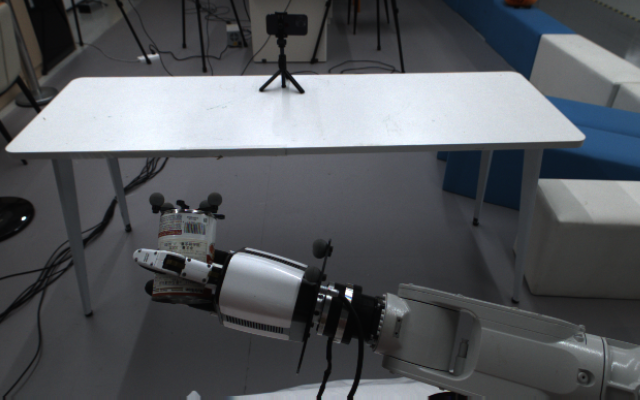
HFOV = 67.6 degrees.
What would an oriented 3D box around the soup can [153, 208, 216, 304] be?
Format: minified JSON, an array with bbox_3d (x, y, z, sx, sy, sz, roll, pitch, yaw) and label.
[{"bbox_3d":[-0.157,0.069,0.568,0.067,0.067,0.101,1,73,-2],"label":"soup can"}]
